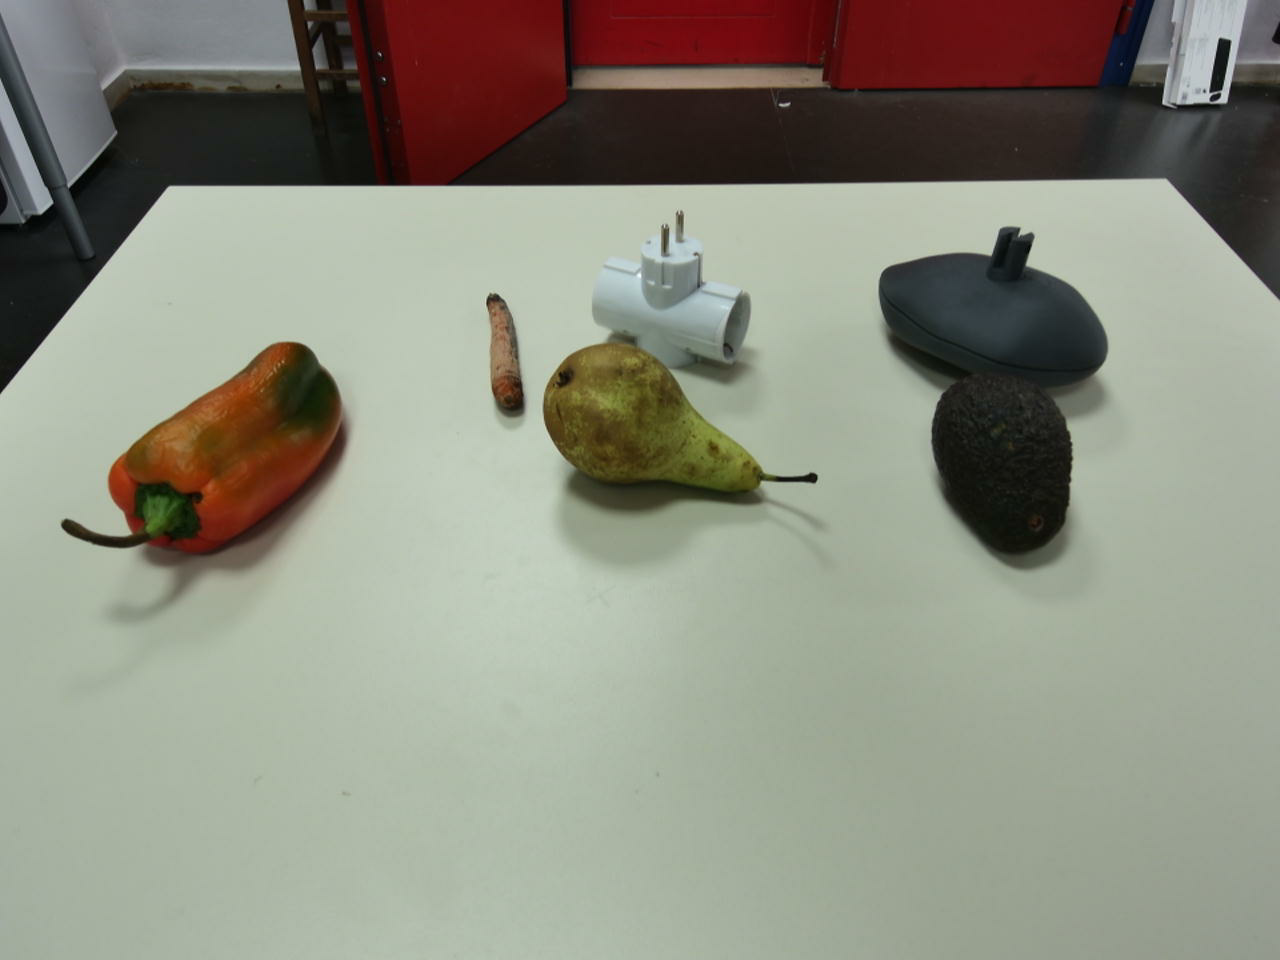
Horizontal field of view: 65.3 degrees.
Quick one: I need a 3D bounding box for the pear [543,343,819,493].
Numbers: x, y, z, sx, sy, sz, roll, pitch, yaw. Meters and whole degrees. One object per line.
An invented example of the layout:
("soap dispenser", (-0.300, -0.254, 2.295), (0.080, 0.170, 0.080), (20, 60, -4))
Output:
("pear", (0.021, -0.033, 0.522), (0.144, 0.075, 0.071), (4, 39, 6))
